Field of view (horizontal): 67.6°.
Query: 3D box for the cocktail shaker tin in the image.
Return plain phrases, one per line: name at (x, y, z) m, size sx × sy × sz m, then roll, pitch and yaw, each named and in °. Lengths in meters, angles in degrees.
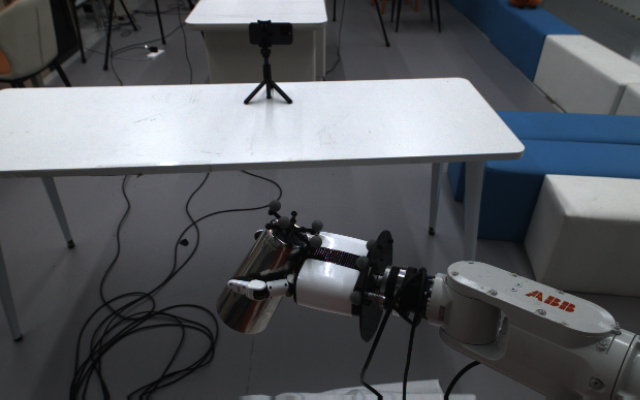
cocktail shaker tin at (-0.083, 0.109, 0.736) m, size 0.093 × 0.170 × 0.093 m, roll 25°, pitch 29°, yaw -15°
